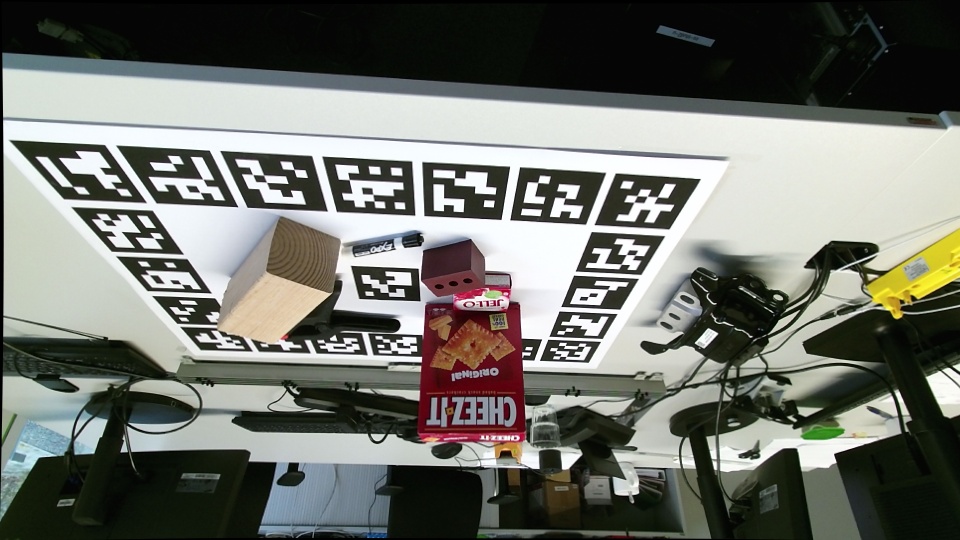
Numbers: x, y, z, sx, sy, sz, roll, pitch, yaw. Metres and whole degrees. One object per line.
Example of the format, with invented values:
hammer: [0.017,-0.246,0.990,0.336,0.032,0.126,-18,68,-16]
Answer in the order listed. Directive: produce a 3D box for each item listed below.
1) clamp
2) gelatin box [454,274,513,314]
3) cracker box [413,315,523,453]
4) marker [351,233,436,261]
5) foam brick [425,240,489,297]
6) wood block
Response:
clamp: [-0.257,0.096,0.903,0.203,0.036,0.166,-17,140,21]
gelatin box: [0.004,0.039,0.837,0.090,0.030,0.073,1,142,-2]
cracker box: [-0.015,0.177,0.860,0.165,0.212,0.072,1,145,1]
marker: [-0.119,-0.032,0.740,0.121,0.019,0.020,-10,141,13]
foam brick: [-0.031,0.000,0.761,0.078,0.051,0.053,-13,140,17]
wood block: [-0.285,0.026,0.766,0.090,0.090,0.206,23,141,-32]
